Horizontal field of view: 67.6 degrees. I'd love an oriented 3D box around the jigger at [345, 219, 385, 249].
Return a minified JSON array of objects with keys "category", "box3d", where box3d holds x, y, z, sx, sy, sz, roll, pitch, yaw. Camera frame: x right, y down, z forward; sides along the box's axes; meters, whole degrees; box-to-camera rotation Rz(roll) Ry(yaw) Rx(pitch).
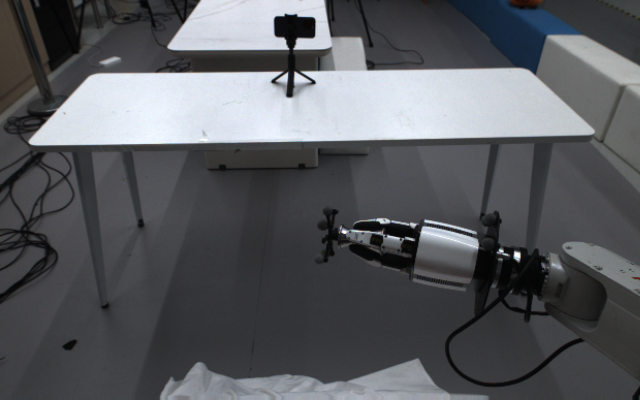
[{"category":"jigger","box3d":[0.072,0.057,0.753,0.071,0.043,0.043,6,35,14]}]
